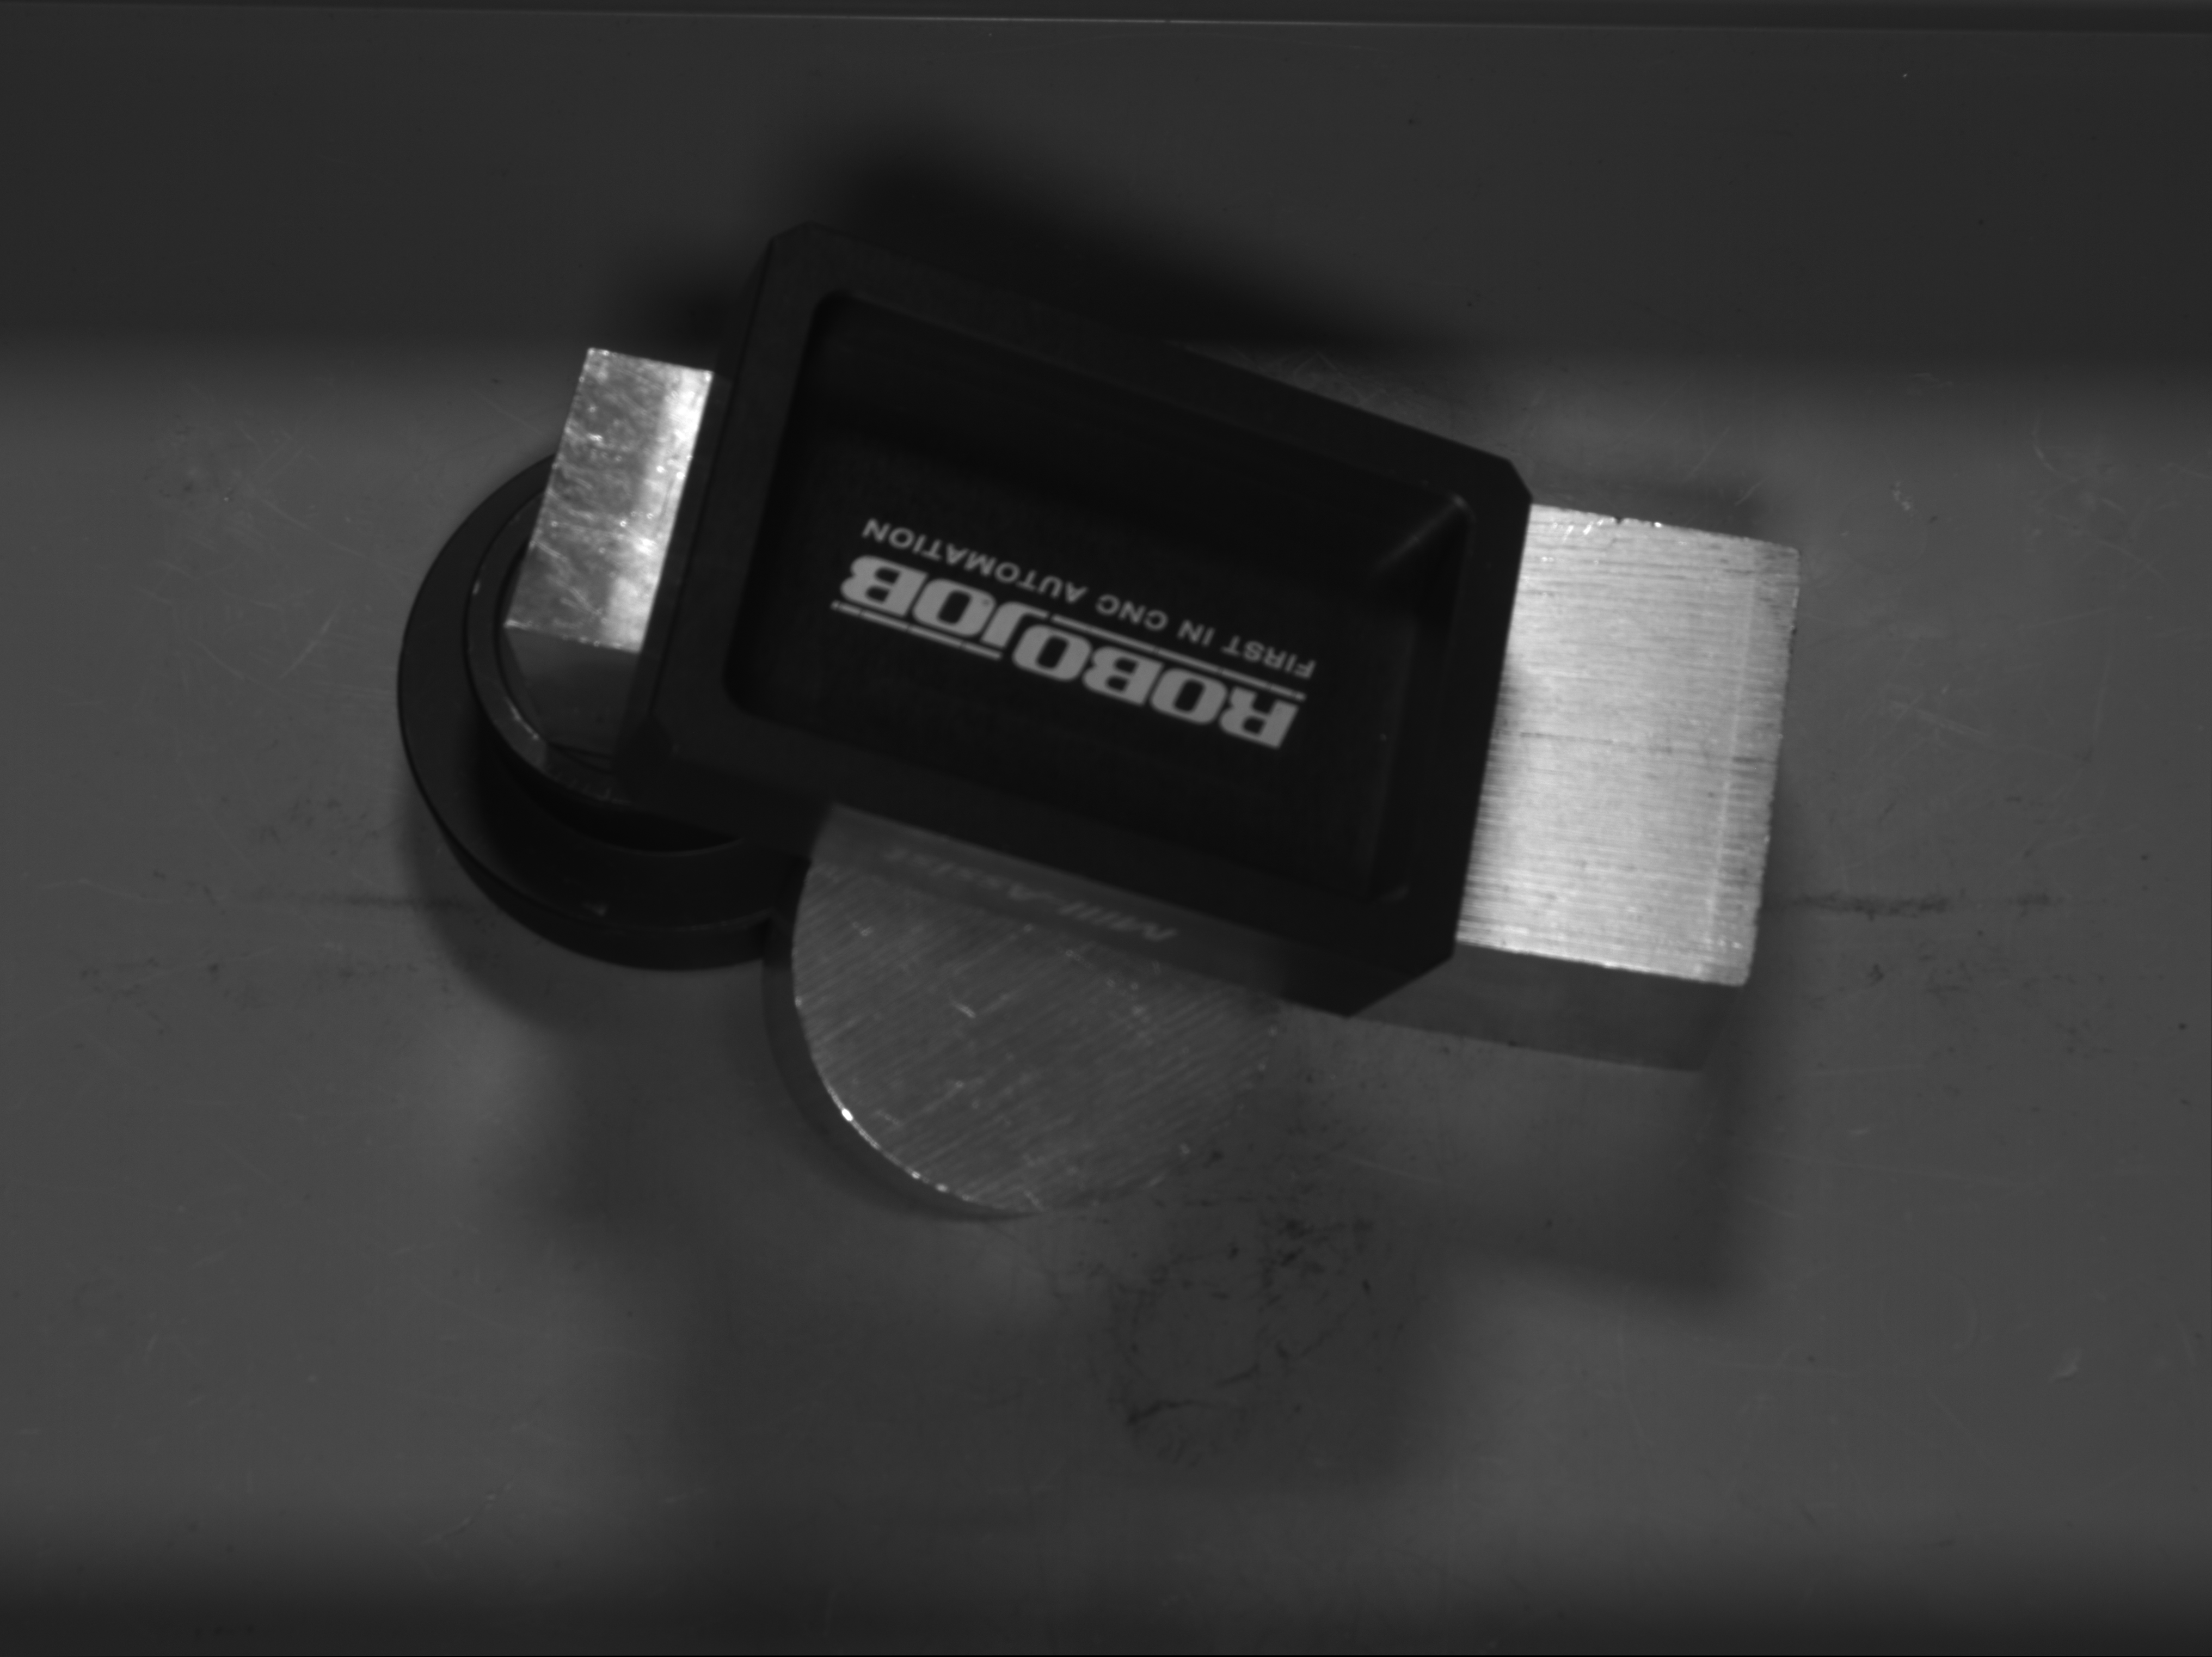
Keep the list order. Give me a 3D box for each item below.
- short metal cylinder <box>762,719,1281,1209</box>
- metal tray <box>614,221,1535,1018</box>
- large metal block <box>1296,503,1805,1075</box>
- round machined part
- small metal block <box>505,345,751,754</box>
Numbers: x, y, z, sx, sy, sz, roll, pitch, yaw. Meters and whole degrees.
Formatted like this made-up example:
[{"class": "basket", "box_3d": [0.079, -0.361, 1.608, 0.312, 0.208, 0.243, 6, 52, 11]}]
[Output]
[{"class": "short metal cylinder", "box_3d": [-0.015, 0.023, 0.609, 0.080, 0.050, 0.080, 1, 83, -11]}, {"class": "metal tray", "box_3d": [-0.003, -0.032, 0.577, 0.130, 0.030, 0.090, 17, 70, -14]}, {"class": "large metal block", "box_3d": [0.072, -0.009, 0.632, 0.080, 0.050, 0.080, 9, 70, 3]}, {"class": "round machined part", "box_3d": [-0.075, -0.028, 0.644, 0.098, 0.042, 0.098, 0, 70, 0]}, {"class": "small metal block", "box_3d": [-0.076, -0.044, 0.601, 0.025, 0.050, 0.050, 12, 70, 4]}]
